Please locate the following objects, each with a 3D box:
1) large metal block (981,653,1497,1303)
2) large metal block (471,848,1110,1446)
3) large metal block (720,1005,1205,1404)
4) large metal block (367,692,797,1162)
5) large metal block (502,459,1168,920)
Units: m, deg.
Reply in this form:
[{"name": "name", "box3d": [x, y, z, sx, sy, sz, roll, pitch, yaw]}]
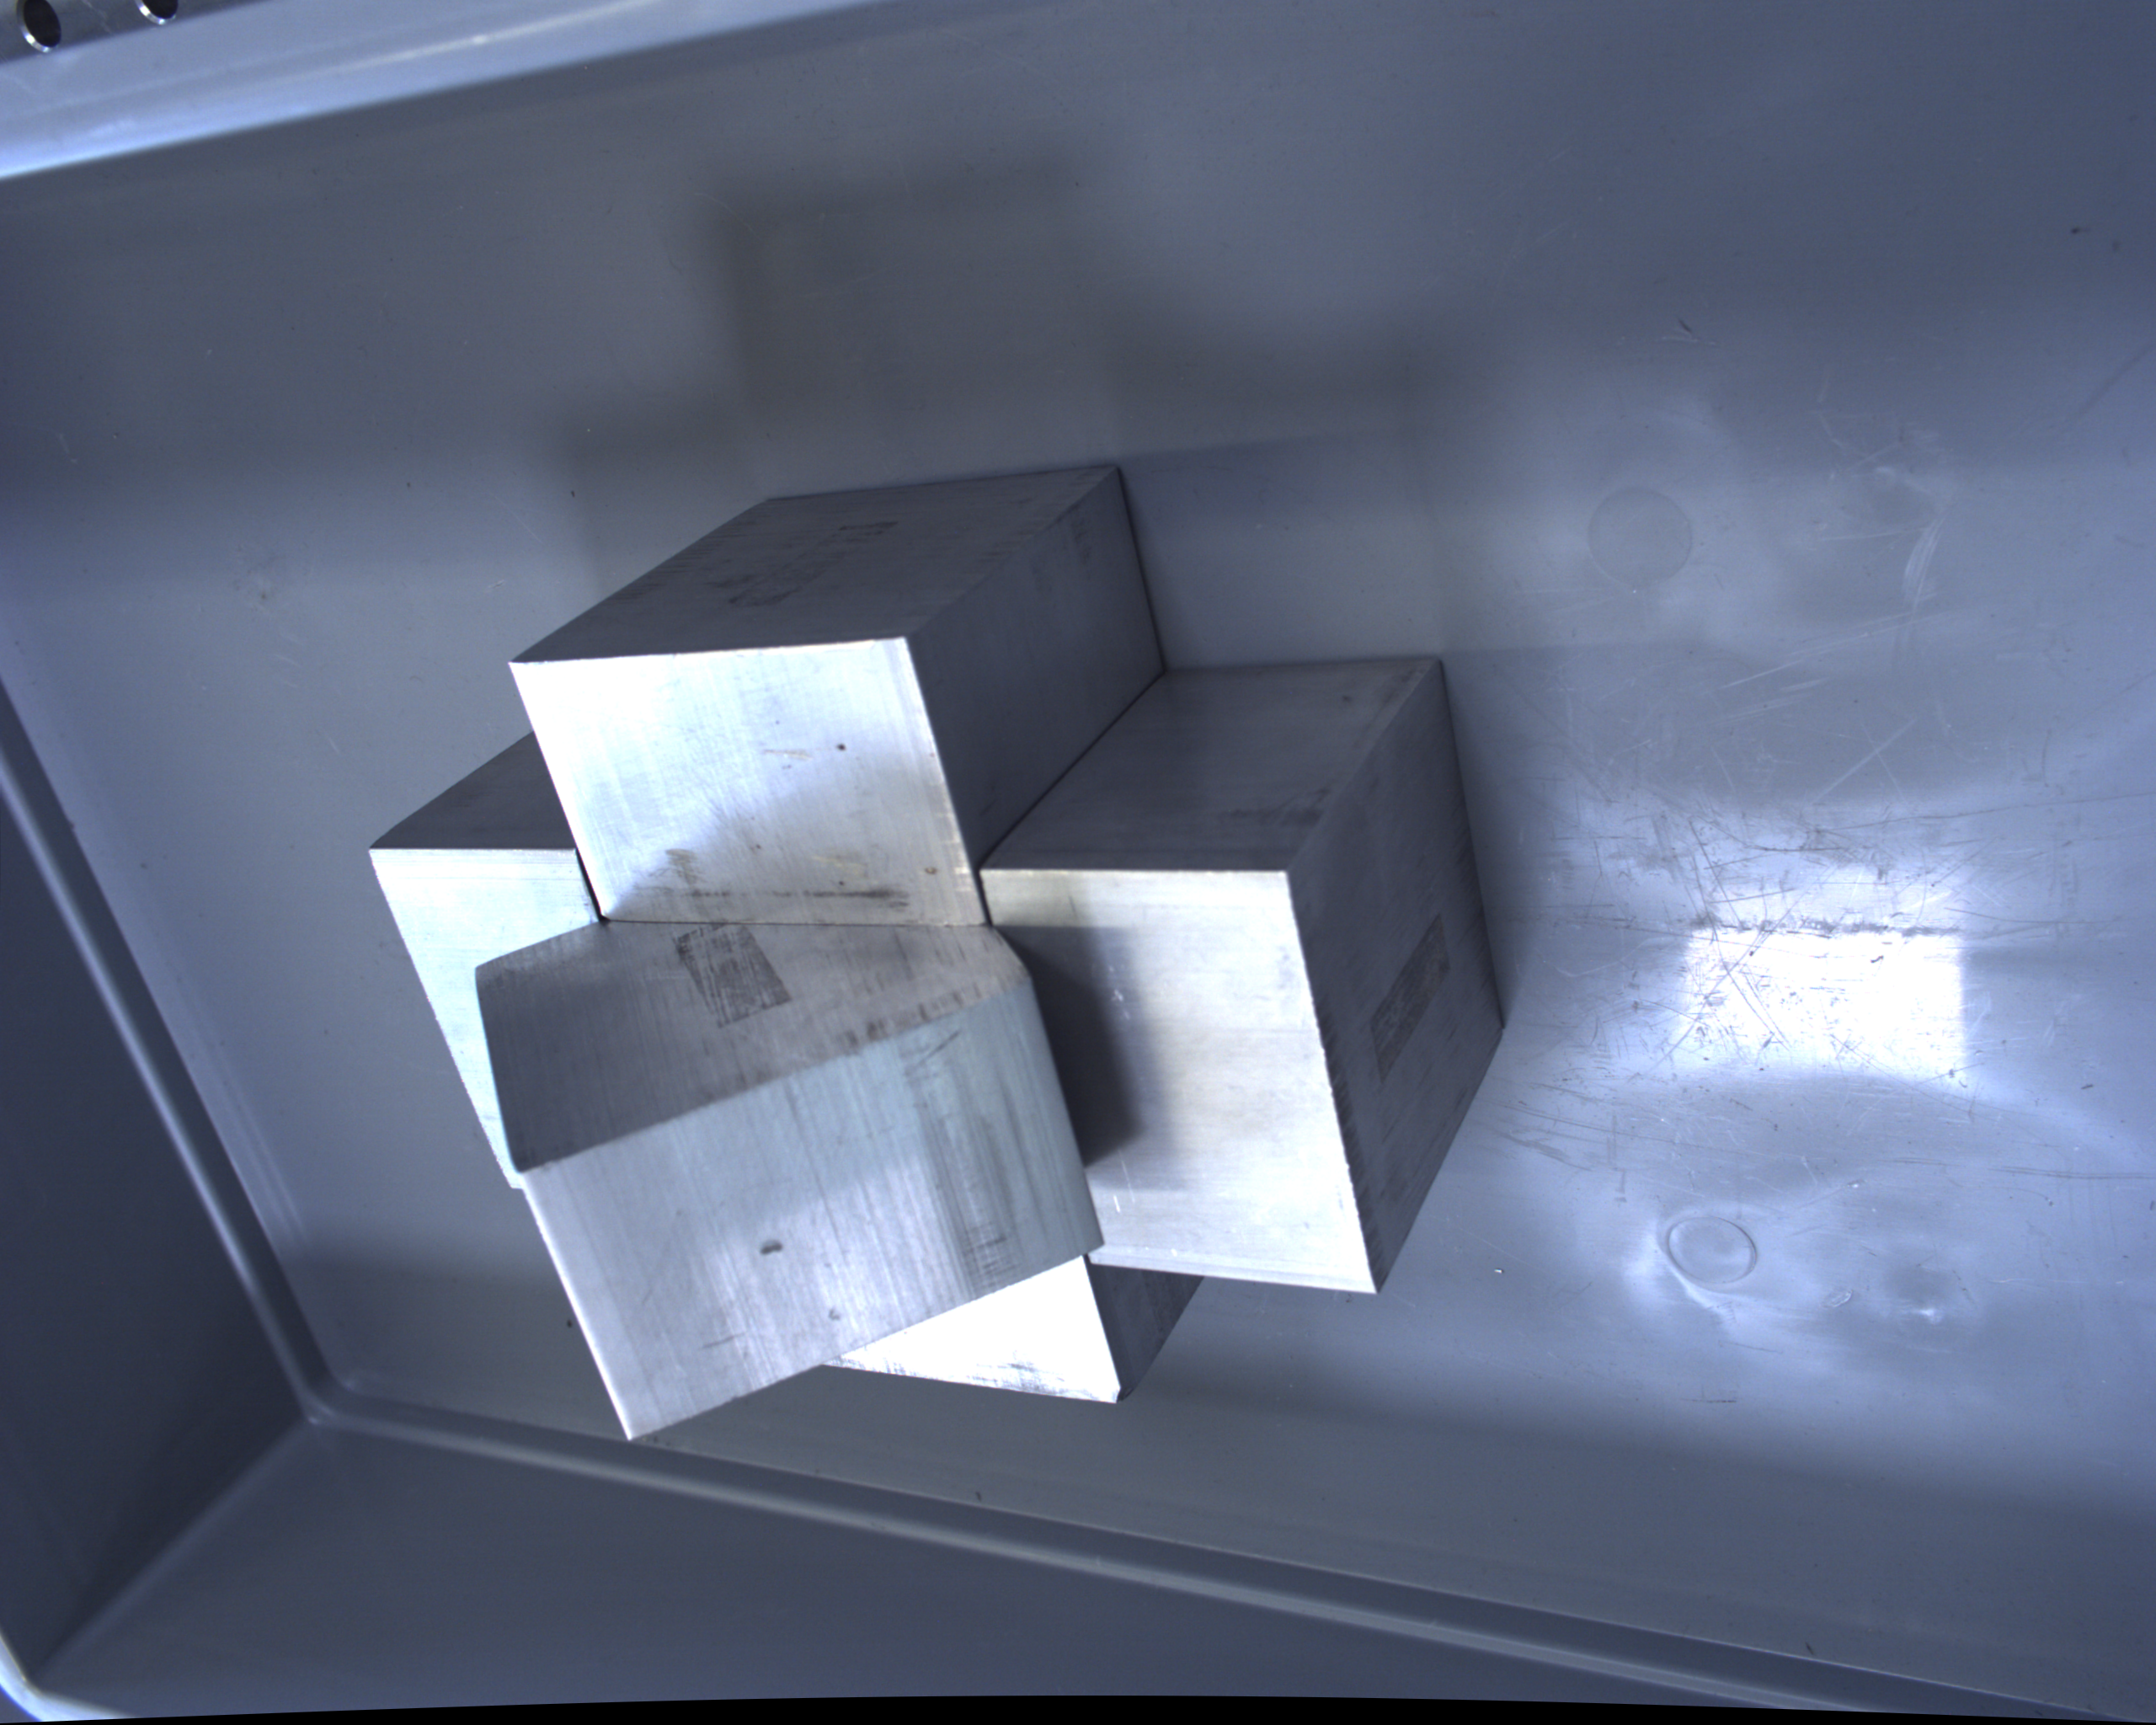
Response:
[{"name": "large metal block", "box3d": [0.033, 0.017, 0.362, 0.050, 0.080, 0.080, 0, 118, 28]}, {"name": "large metal block", "box3d": [-0.051, 0.040, 0.350, 0.081, 0.080, 0.050, -20, 115, -12]}, {"name": "large metal block", "box3d": [-0.015, 0.057, 0.415, 0.080, 0.080, 0.050, 0, 118, 28]}, {"name": "large metal block", "box3d": [-0.084, 0.013, 0.425, 0.050, 0.080, 0.080, 0, 119, 28]}, {"name": "large metal block", "box3d": [-0.039, -0.032, 0.372, 0.080, 0.080, 0.050, 0, 118, 28]}]
